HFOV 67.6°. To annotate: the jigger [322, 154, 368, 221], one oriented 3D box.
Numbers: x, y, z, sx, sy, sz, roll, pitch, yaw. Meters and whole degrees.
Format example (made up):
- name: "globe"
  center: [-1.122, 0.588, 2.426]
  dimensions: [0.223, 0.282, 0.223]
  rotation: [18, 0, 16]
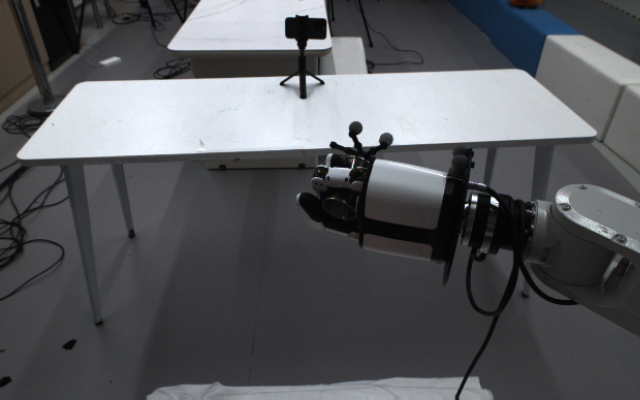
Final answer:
- name: "jigger"
  center: [0.036, -0.018, 0.584]
  dimensions: [0.043, 0.043, 0.071]
  rotation: [15, 58, 18]
